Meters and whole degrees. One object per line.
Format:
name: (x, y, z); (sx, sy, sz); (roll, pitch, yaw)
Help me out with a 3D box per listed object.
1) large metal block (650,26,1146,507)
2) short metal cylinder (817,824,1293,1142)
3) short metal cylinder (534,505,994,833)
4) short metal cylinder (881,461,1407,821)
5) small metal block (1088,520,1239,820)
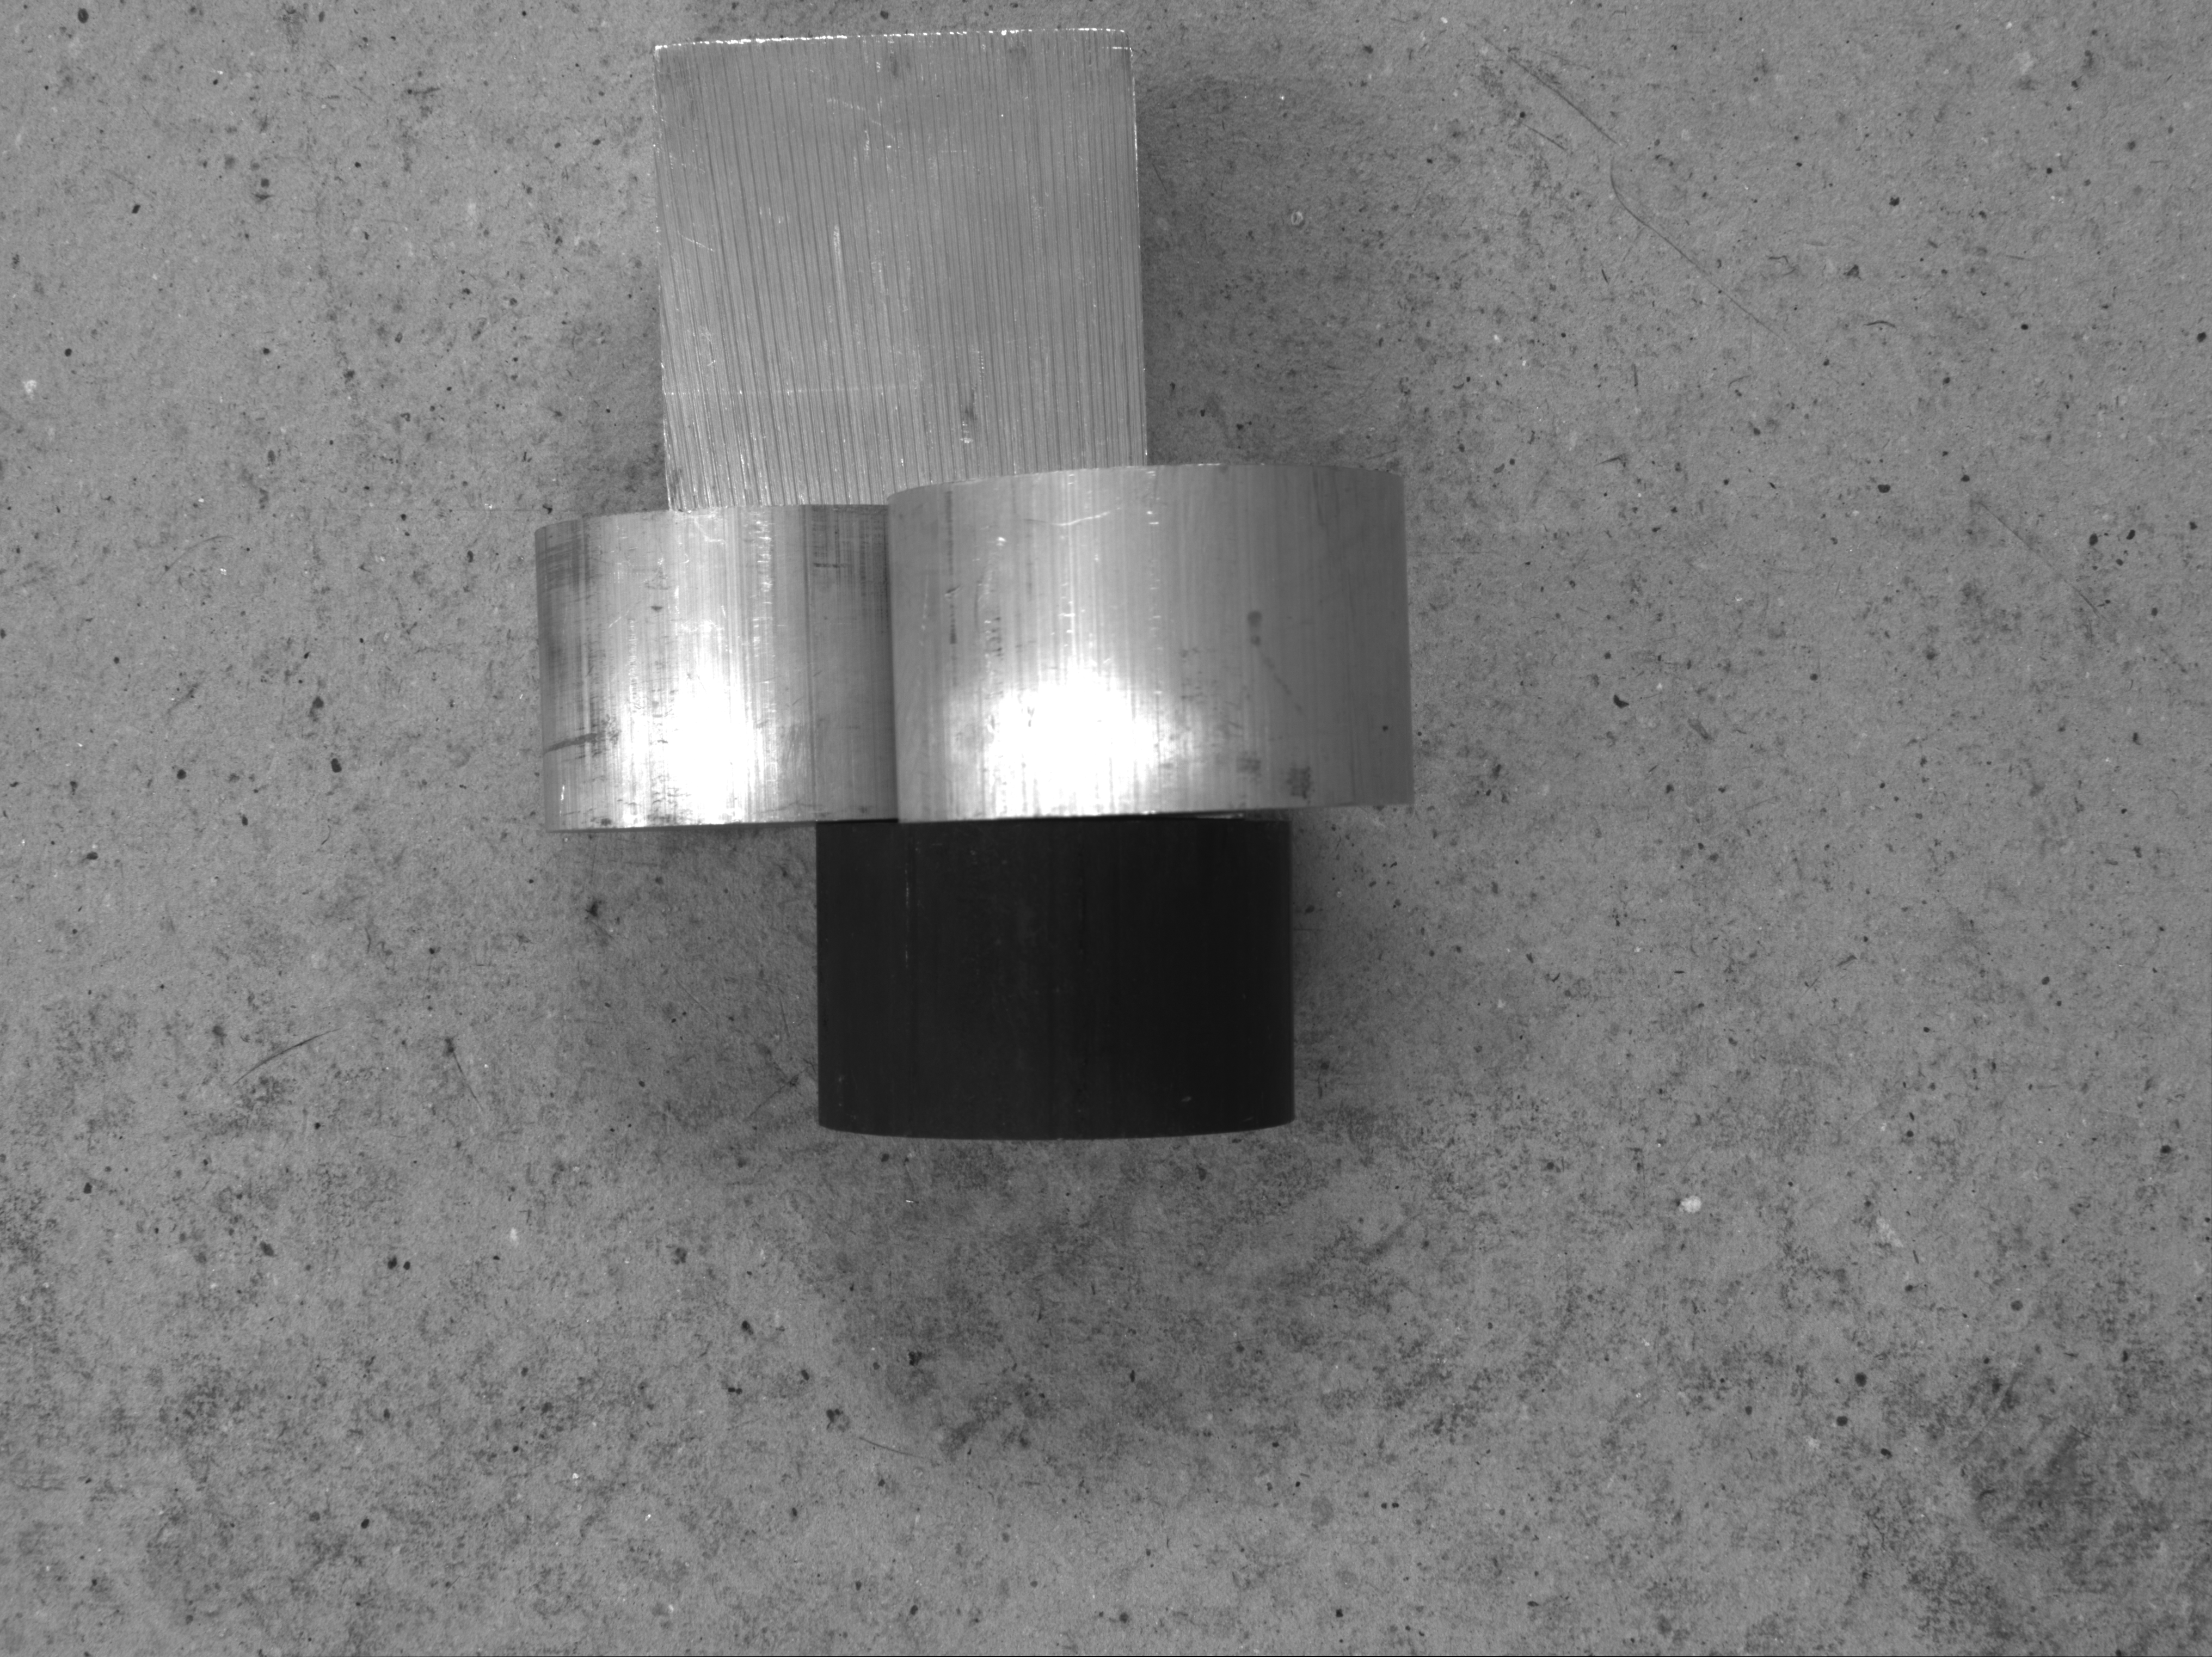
large metal block: (-0.034, -0.092, 0.634); (0.080, 0.050, 0.080); (-2, 90, 0)
short metal cylinder: (-0.009, 0.024, 0.619); (0.080, 0.080, 0.050); (0, 90, 0)
short metal cylinder: (-0.055, -0.026, 0.619); (0.080, 0.080, 0.050); (-2, 90, 0)
short metal cylinder: (0.006, -0.028, 0.569); (0.080, 0.080, 0.050); (-2, 90, 0)
small metal block: (0.010, -0.026, 0.636); (0.025, 0.050, 0.050); (1, 90, 0)
